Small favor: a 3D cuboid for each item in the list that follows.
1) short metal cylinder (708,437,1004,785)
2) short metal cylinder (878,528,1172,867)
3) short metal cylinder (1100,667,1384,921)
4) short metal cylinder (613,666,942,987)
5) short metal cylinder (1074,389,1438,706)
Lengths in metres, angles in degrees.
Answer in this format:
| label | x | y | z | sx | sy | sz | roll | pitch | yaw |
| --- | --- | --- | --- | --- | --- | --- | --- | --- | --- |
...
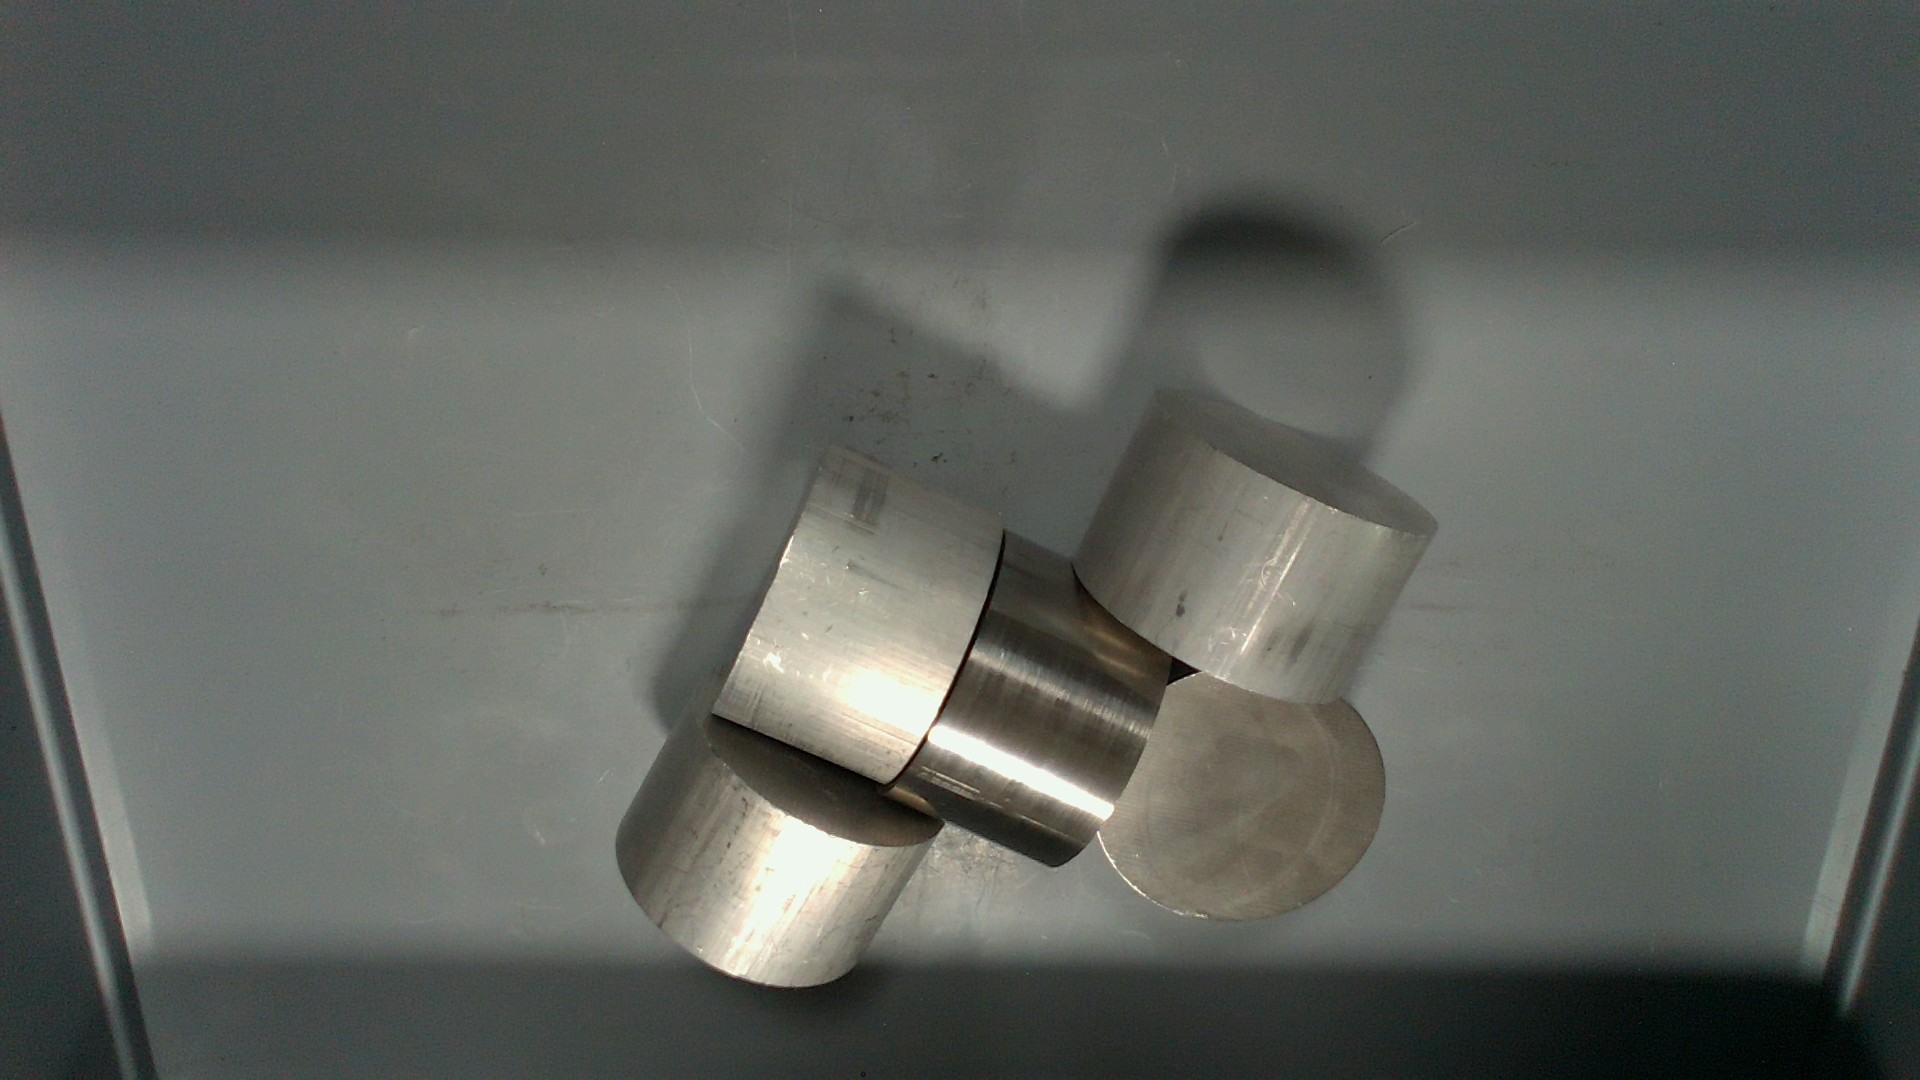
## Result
| label | x | y | z | sx | sy | sz | roll | pitch | yaw |
| --- | --- | --- | --- | --- | --- | --- | --- | --- | --- |
| short metal cylinder | -0.028 | 0.019 | 0.370 | 0.050 | 0.080 | 0.080 | 24 | 108 | -9 |
| short metal cylinder | 0.017 | 0.043 | 0.380 | 0.050 | 0.080 | 0.080 | 25 | 108 | -9 |
| short metal cylinder | 0.077 | 0.063 | 0.402 | 0.080 | 0.050 | 0.080 | 0 | 110 | 0 |
| short metal cylinder | -0.051 | 0.079 | 0.392 | 0.080 | 0.080 | 0.050 | 28 | 108 | -10 |
| short metal cylinder | 0.077 | 0.000 | 0.364 | 0.080 | 0.080 | 0.050 | 22 | 109 | -8 |
